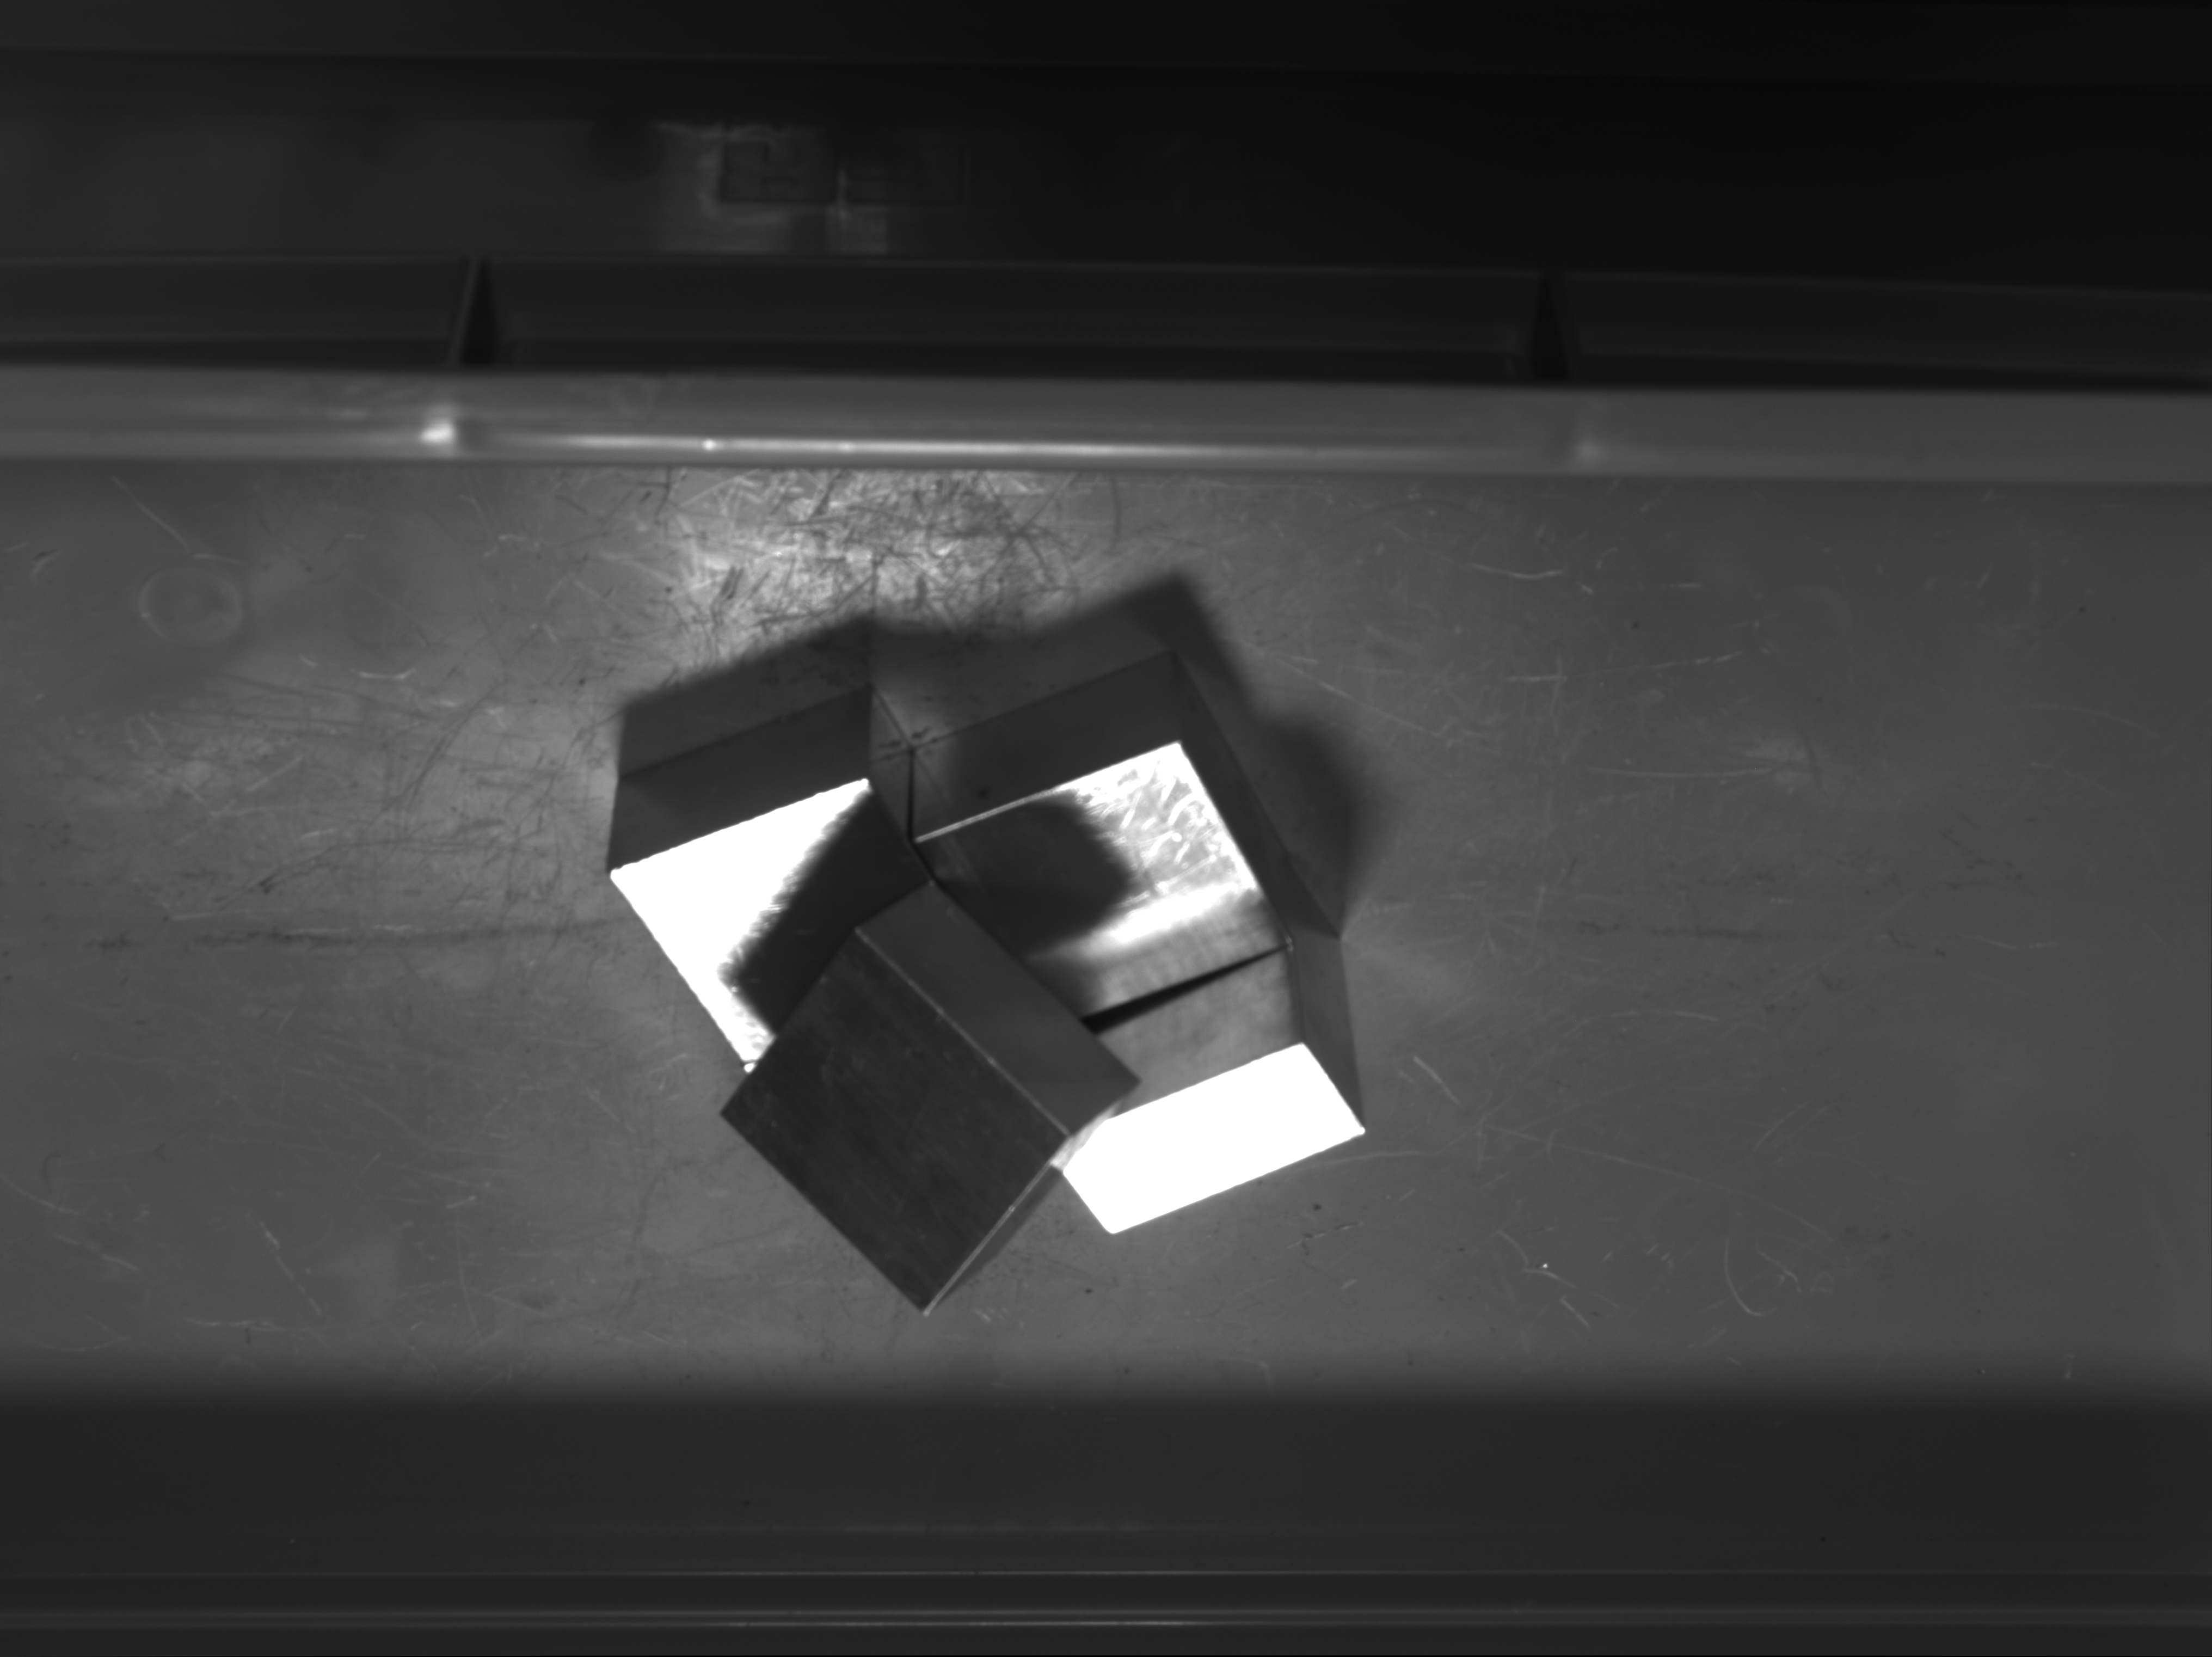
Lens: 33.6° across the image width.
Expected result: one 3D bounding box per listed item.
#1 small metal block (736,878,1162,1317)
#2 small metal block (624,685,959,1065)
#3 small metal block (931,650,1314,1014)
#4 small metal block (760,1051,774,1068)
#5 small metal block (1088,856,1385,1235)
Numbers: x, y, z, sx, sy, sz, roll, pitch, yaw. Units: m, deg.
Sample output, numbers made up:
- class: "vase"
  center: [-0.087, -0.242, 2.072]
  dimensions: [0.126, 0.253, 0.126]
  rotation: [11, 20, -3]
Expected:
- class: "small metal block"
  center: [-0.027, 0.046, 0.626]
  dimensions: [0.050, 0.025, 0.050]
  rotation: [43, 123, 9]
- class: "small metal block"
  center: [-0.049, 0.009, 0.643]
  dimensions: [0.050, 0.025, 0.050]
  rotation: [-20, 128, 14]
- class: "small metal block"
  center: [0.003, 0.003, 0.640]
  dimensions: [0.050, 0.025, 0.050]
  rotation: [-20, 128, 14]
- class: "small metal block"
  center: [-0.029, 0.044, 0.673]
  dimensions: [0.050, 0.025, 0.050]
  rotation: [-20, 128, 14]
- class: "small metal block"
  center: [0.020, 0.038, 0.653]
  dimensions: [0.050, 0.050, 0.025]
  rotation: [-23, 127, 16]
